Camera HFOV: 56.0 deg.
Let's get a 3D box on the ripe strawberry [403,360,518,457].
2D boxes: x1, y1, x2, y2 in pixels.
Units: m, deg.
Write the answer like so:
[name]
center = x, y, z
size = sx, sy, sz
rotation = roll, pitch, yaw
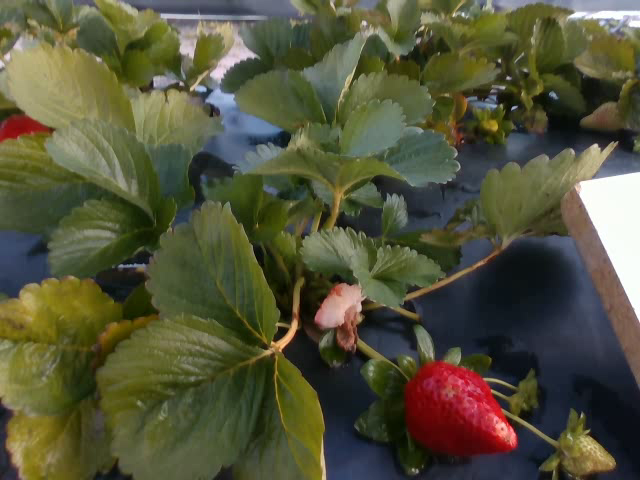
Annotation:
[ripe strawberry]
center = 0.067, 0.078, 0.265
size = 0.043, 0.052, 0.057
rotation = -36, 12, -16
